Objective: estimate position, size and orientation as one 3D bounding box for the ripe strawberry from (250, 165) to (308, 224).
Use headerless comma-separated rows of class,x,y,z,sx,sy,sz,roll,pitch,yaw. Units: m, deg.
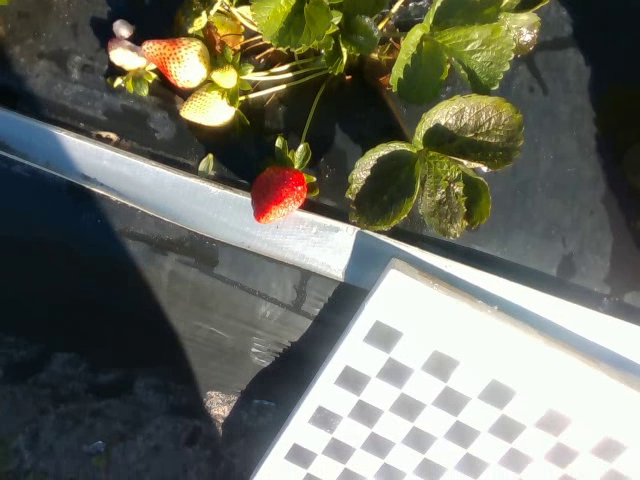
ripe strawberry,-0.026,-0.023,0.327,0.036,0.038,0.046,27,42,0
